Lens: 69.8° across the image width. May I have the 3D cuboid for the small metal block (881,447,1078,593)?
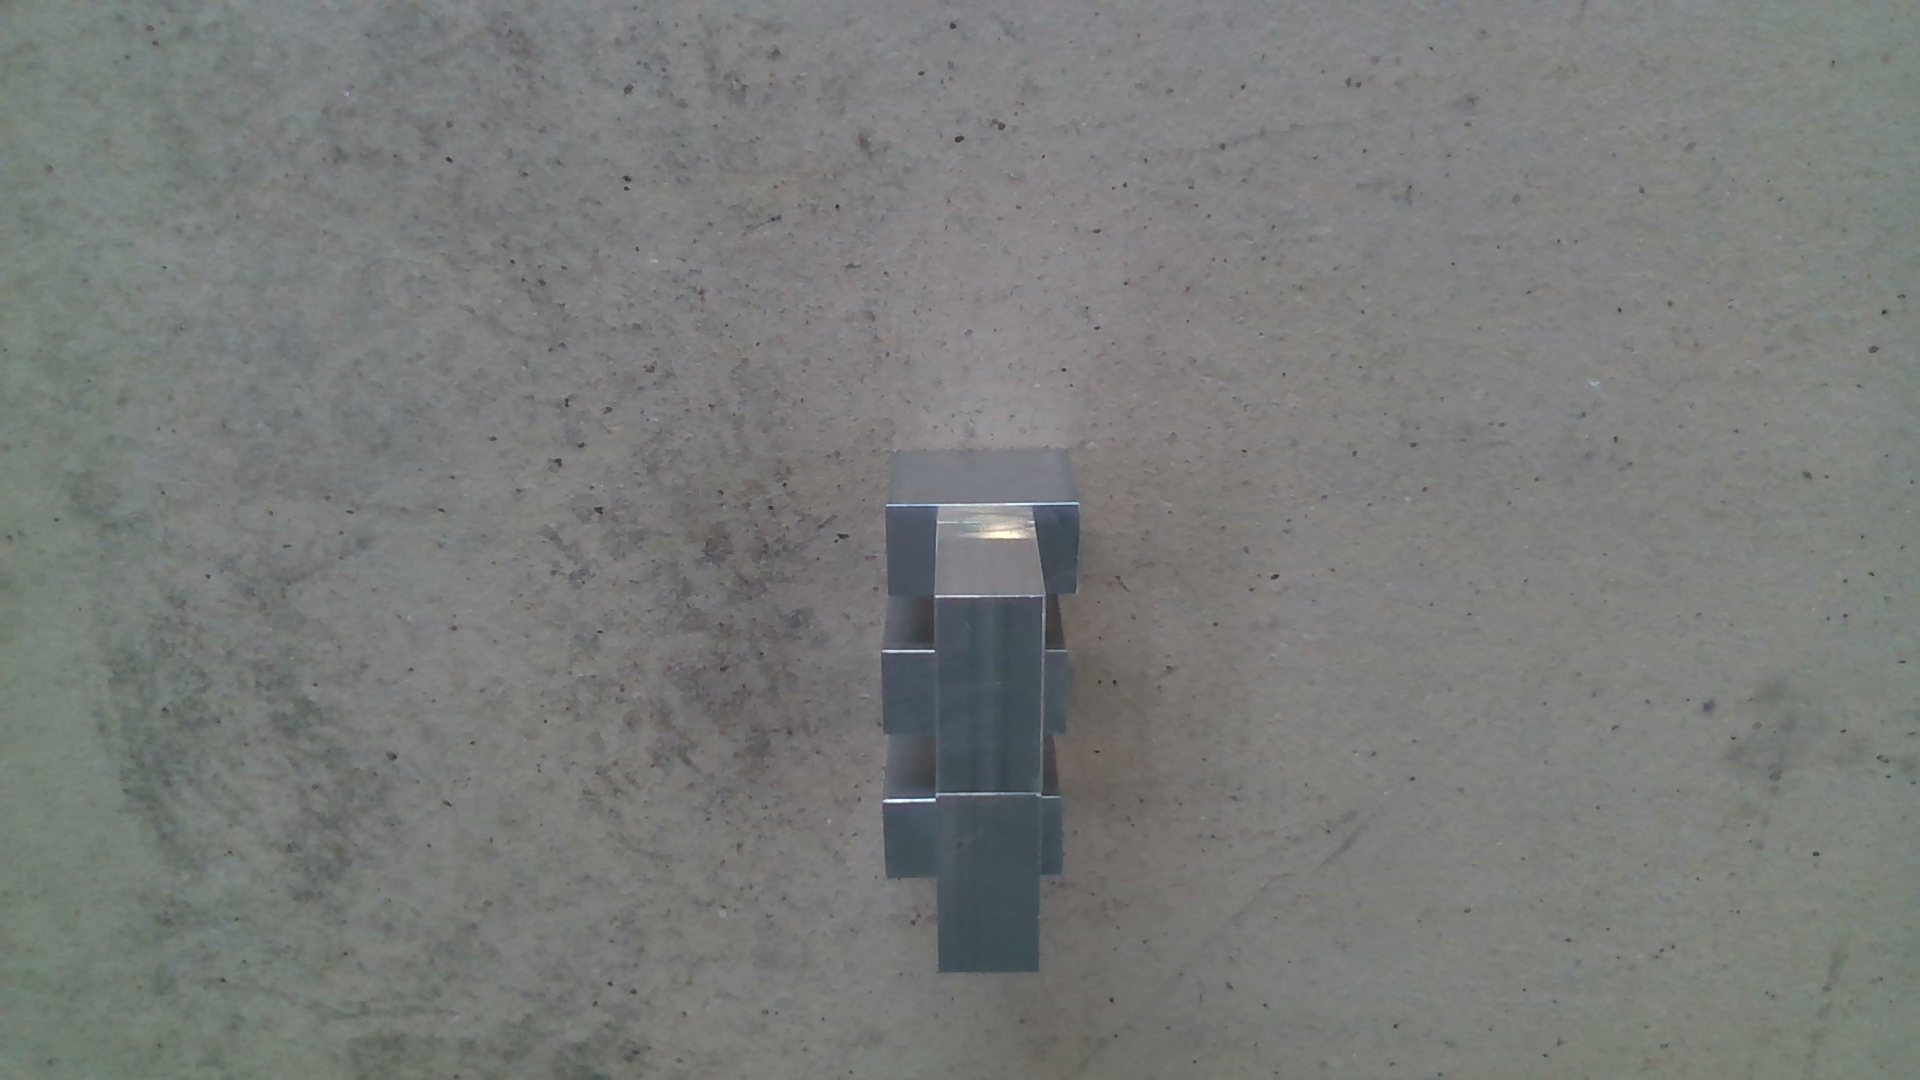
[{"bbox_3d":[0.005,-0.007,0.377,0.050,0.050,0.025,-1,109,0],"label":"small metal block"}]

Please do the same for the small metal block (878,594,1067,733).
[{"bbox_3d":[0.003,0.032,0.392,0.050,0.050,0.025,-1,109,0],"label":"small metal block"}]

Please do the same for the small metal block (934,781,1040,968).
[{"bbox_3d":[0.006,0.074,0.354,0.025,0.050,0.050,0,110,0],"label":"small metal block"}]

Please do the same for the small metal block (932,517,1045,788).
[{"bbox_3d":[0.006,0.026,0.337,0.025,0.050,0.050,0,110,0],"label":"small metal block"}]

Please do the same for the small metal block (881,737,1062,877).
[{"bbox_3d":[0.003,0.075,0.408,0.050,0.050,0.025,-1,109,0],"label":"small metal block"}]
